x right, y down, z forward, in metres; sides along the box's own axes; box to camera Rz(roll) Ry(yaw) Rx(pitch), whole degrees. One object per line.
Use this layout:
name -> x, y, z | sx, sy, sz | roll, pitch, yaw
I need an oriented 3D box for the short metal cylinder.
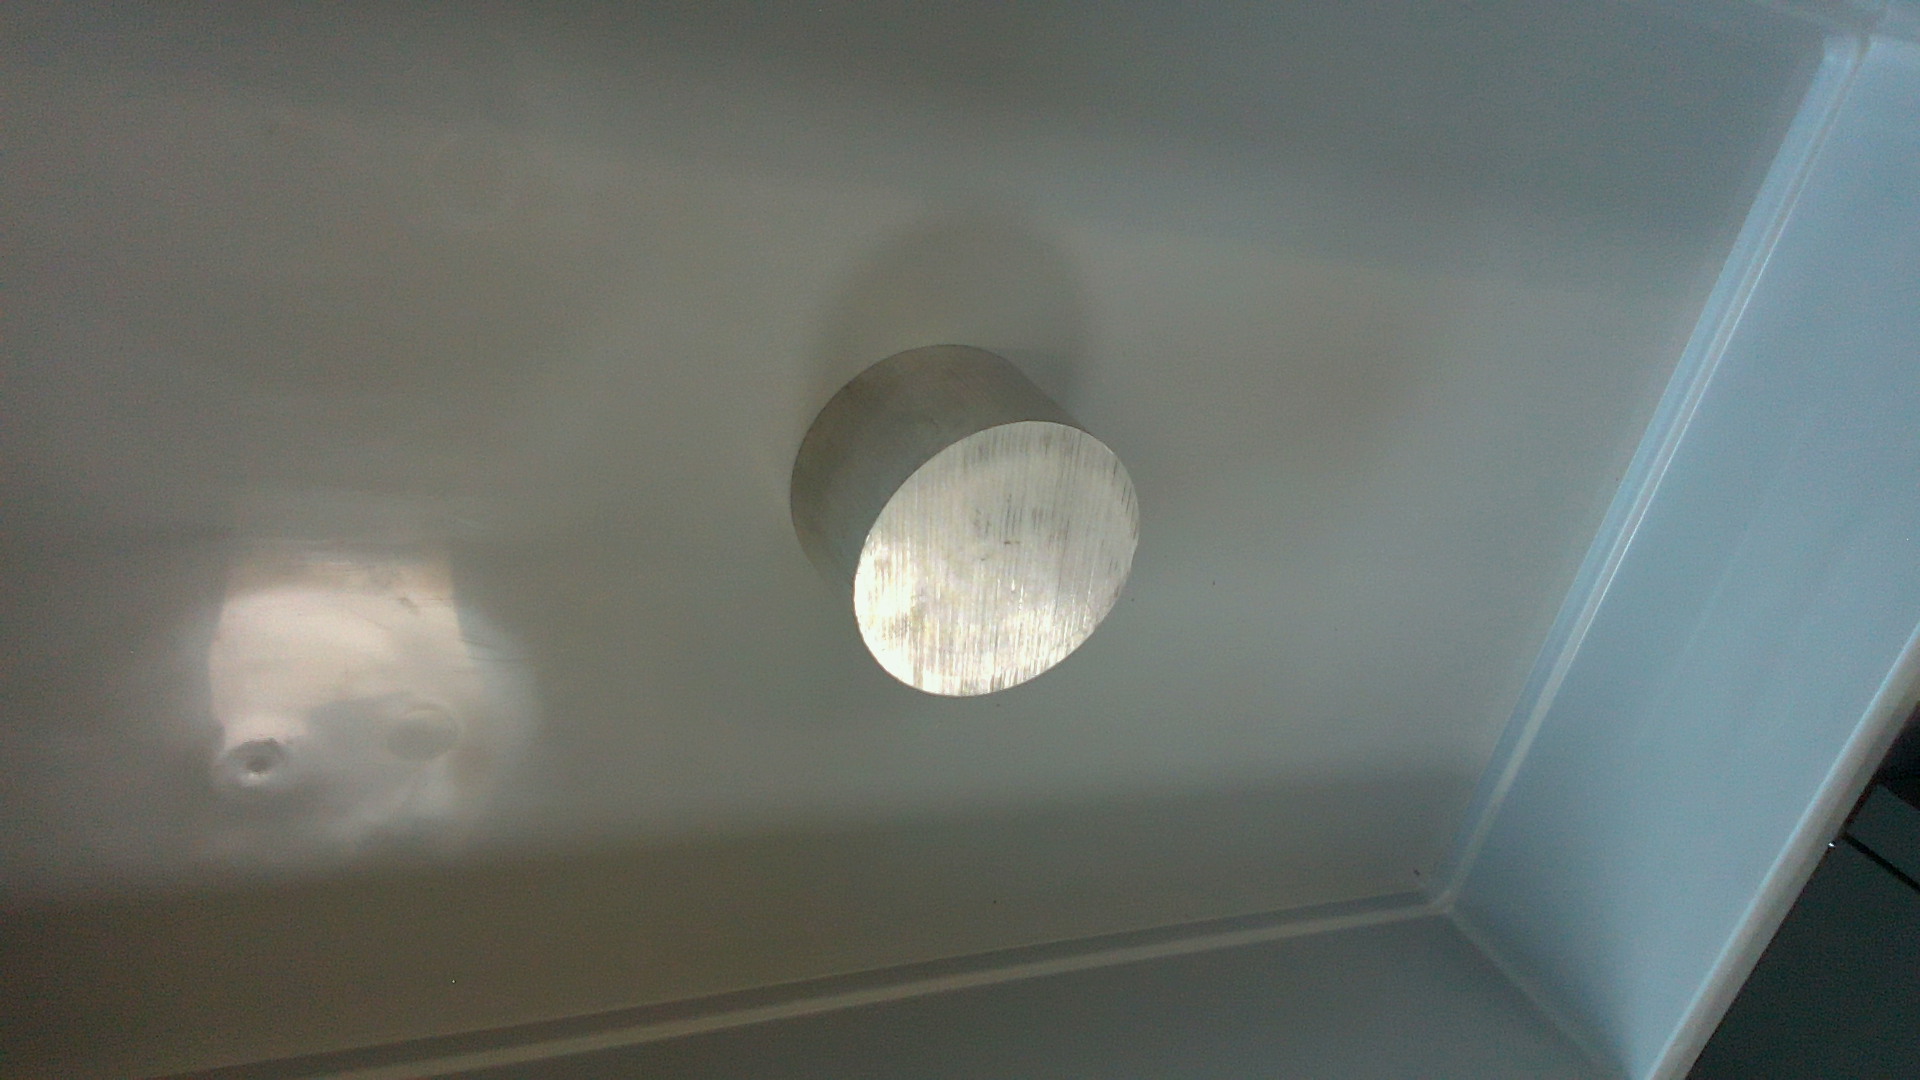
short metal cylinder -> 0.000, -0.006, 0.367 | 0.080, 0.050, 0.080 | -14, 124, -21
